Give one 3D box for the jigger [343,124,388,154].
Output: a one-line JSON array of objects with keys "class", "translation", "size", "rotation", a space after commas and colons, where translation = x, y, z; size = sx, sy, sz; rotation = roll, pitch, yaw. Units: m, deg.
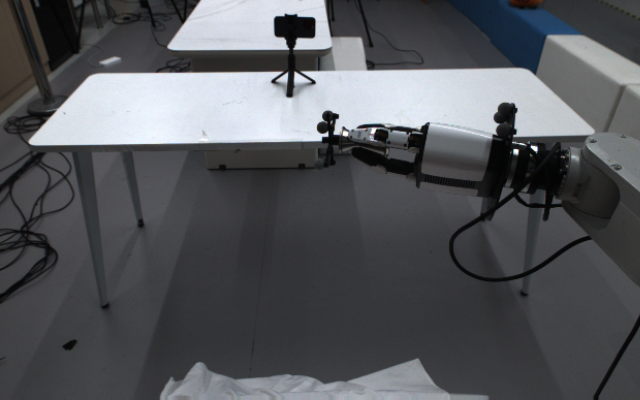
[{"class": "jigger", "translation": [0.071, -0.087, 0.700], "size": [0.071, 0.043, 0.043], "rotation": [5, 34, 14]}]
